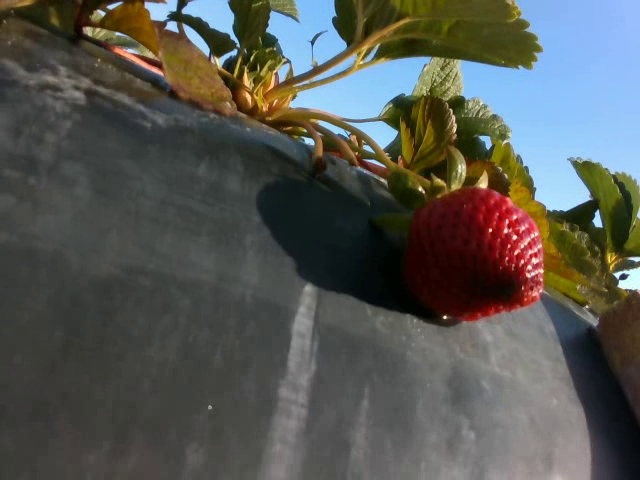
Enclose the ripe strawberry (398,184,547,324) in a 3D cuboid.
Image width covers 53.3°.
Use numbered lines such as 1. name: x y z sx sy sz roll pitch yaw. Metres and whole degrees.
1. ripe strawberry: 0.039 0.005 0.149 0.040 0.037 0.044 18 24 -36
